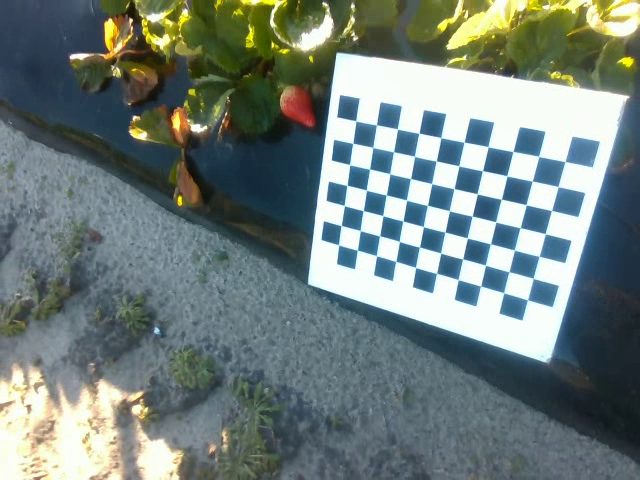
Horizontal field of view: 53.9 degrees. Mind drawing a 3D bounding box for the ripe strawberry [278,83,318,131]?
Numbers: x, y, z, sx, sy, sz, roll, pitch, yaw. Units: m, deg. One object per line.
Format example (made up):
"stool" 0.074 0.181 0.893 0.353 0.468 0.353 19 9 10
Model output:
"ripe strawberry" -0.029 -0.161 0.772 0.040 0.065 0.040 -39 -5 29
